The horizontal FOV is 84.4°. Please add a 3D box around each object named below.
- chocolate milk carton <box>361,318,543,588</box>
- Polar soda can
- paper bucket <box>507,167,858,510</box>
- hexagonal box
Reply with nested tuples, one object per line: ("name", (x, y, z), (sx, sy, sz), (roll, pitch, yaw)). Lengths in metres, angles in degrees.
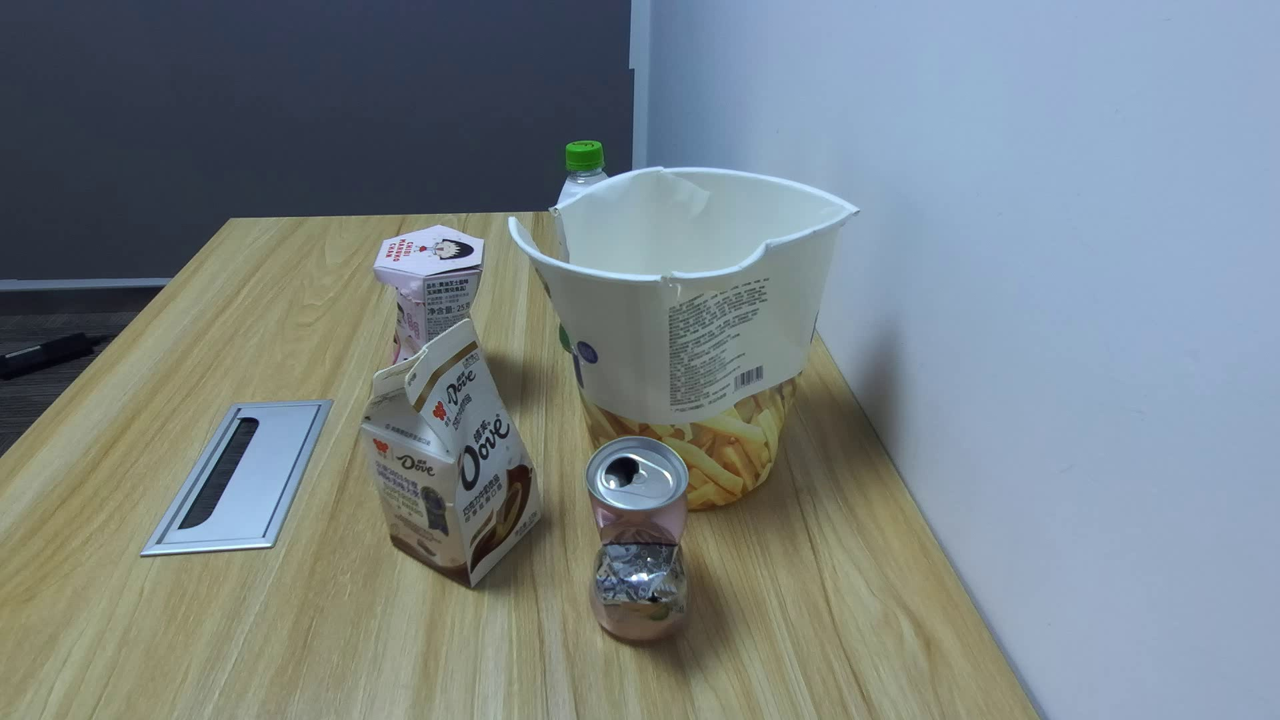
("chocolate milk carton", (-0.114, 0.052, 0.438), (0.073, 0.155, 0.084), (20, 38, 25))
("Polar soda can", (0.001, 0.104, 0.403), (0.074, 0.114, 0.070), (24, 46, 35))
("paper bucket", (0.031, -0.015, 0.497), (0.203, 0.197, 0.145), (-29, 43, -36))
("hexagonal box", (-0.161, -0.031, 0.577), (0.090, 0.134, 0.091), (24, 39, 25))
